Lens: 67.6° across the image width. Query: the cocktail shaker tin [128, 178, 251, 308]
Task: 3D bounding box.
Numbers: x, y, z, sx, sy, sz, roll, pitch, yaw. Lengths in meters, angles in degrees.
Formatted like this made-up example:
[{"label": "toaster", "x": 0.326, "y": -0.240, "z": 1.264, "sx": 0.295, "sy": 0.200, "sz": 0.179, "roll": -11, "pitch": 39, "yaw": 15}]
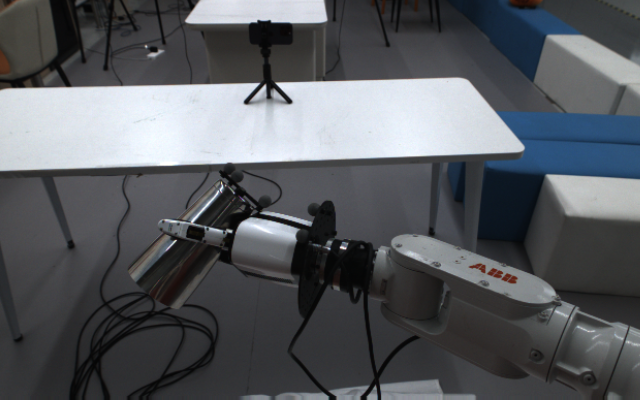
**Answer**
[{"label": "cocktail shaker tin", "x": -0.170, "y": 0.053, "z": 0.673, "sx": 0.170, "sy": 0.093, "sz": 0.093, "roll": -48, "pitch": 49, "yaw": -3}]
